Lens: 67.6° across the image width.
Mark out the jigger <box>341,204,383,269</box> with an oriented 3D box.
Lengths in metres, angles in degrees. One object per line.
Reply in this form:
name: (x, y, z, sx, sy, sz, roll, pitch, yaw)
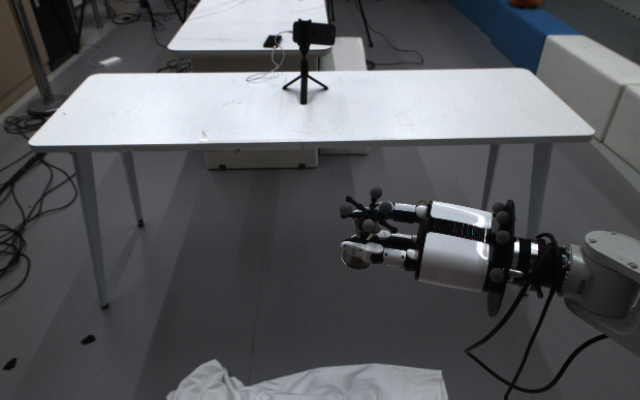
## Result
jigger: (0.058, 0.059, 0.691, 0.043, 0.071, 0.043, 10, 36, -7)
